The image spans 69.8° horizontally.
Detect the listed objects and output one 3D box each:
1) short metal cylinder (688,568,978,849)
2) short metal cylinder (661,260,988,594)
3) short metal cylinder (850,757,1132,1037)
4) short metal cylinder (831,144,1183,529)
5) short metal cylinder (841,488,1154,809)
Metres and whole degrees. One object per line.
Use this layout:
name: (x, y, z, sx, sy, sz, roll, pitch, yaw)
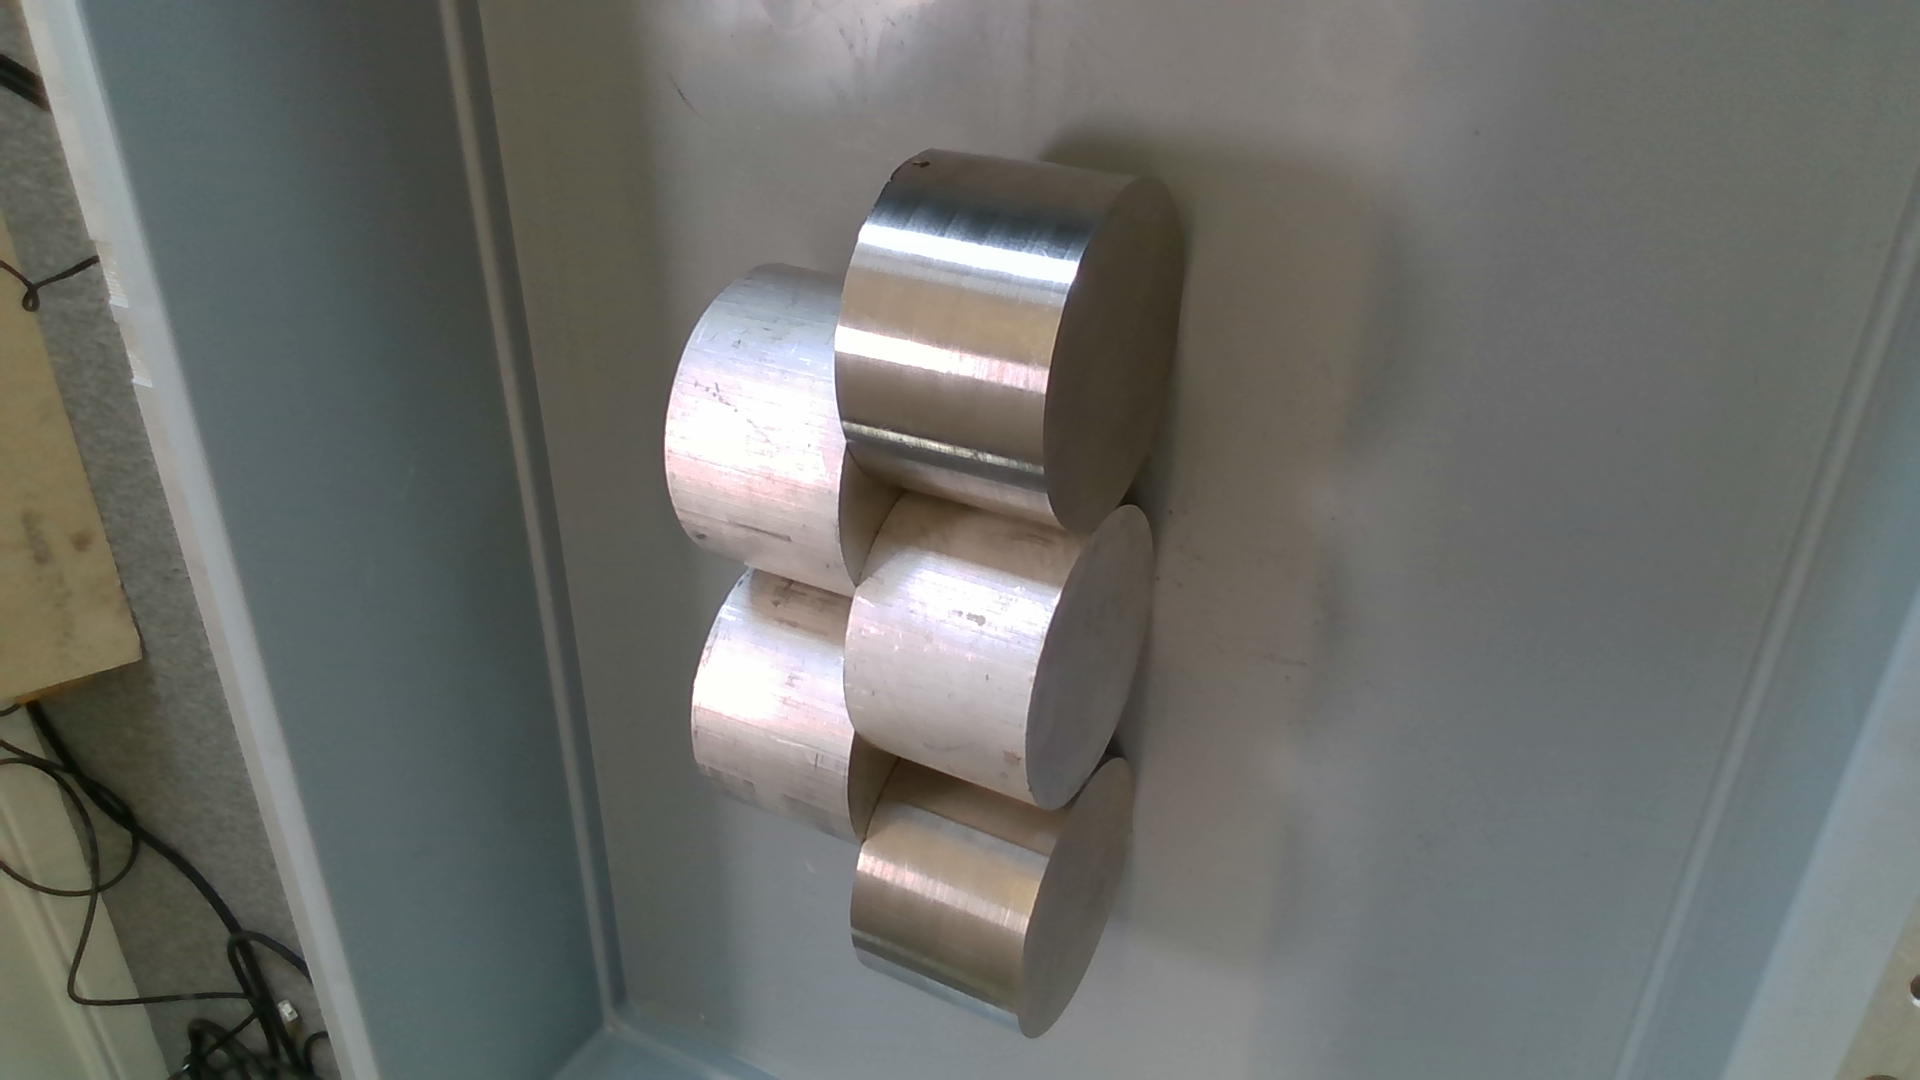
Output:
short metal cylinder: (-0.033, 0.043, 0.396, 0.050, 0.080, 0.080, 15, 122, 24)
short metal cylinder: (-0.032, -0.028, 0.356, 0.050, 0.080, 0.080, 15, 122, 24)
short metal cylinder: (0.011, 0.094, 0.396, 0.050, 0.080, 0.080, 16, 122, 24)
short metal cylinder: (0.013, -0.047, 0.318, 0.050, 0.080, 0.080, 15, 122, 24)
short metal cylinder: (0.012, 0.023, 0.357, 0.050, 0.080, 0.080, 15, 122, 24)
